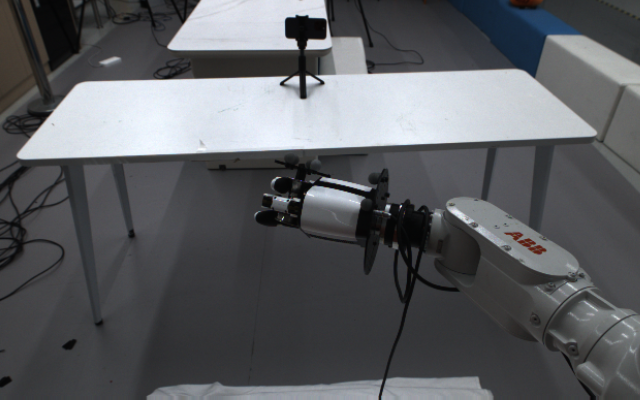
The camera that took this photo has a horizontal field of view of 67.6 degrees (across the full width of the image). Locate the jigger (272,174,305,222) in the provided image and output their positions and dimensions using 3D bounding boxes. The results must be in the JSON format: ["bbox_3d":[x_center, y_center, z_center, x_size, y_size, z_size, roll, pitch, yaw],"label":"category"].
[{"bbox_3d":[-0.040,0.001,0.739,0.043,0.071,0.043,17,2,-1],"label":"jigger"}]
